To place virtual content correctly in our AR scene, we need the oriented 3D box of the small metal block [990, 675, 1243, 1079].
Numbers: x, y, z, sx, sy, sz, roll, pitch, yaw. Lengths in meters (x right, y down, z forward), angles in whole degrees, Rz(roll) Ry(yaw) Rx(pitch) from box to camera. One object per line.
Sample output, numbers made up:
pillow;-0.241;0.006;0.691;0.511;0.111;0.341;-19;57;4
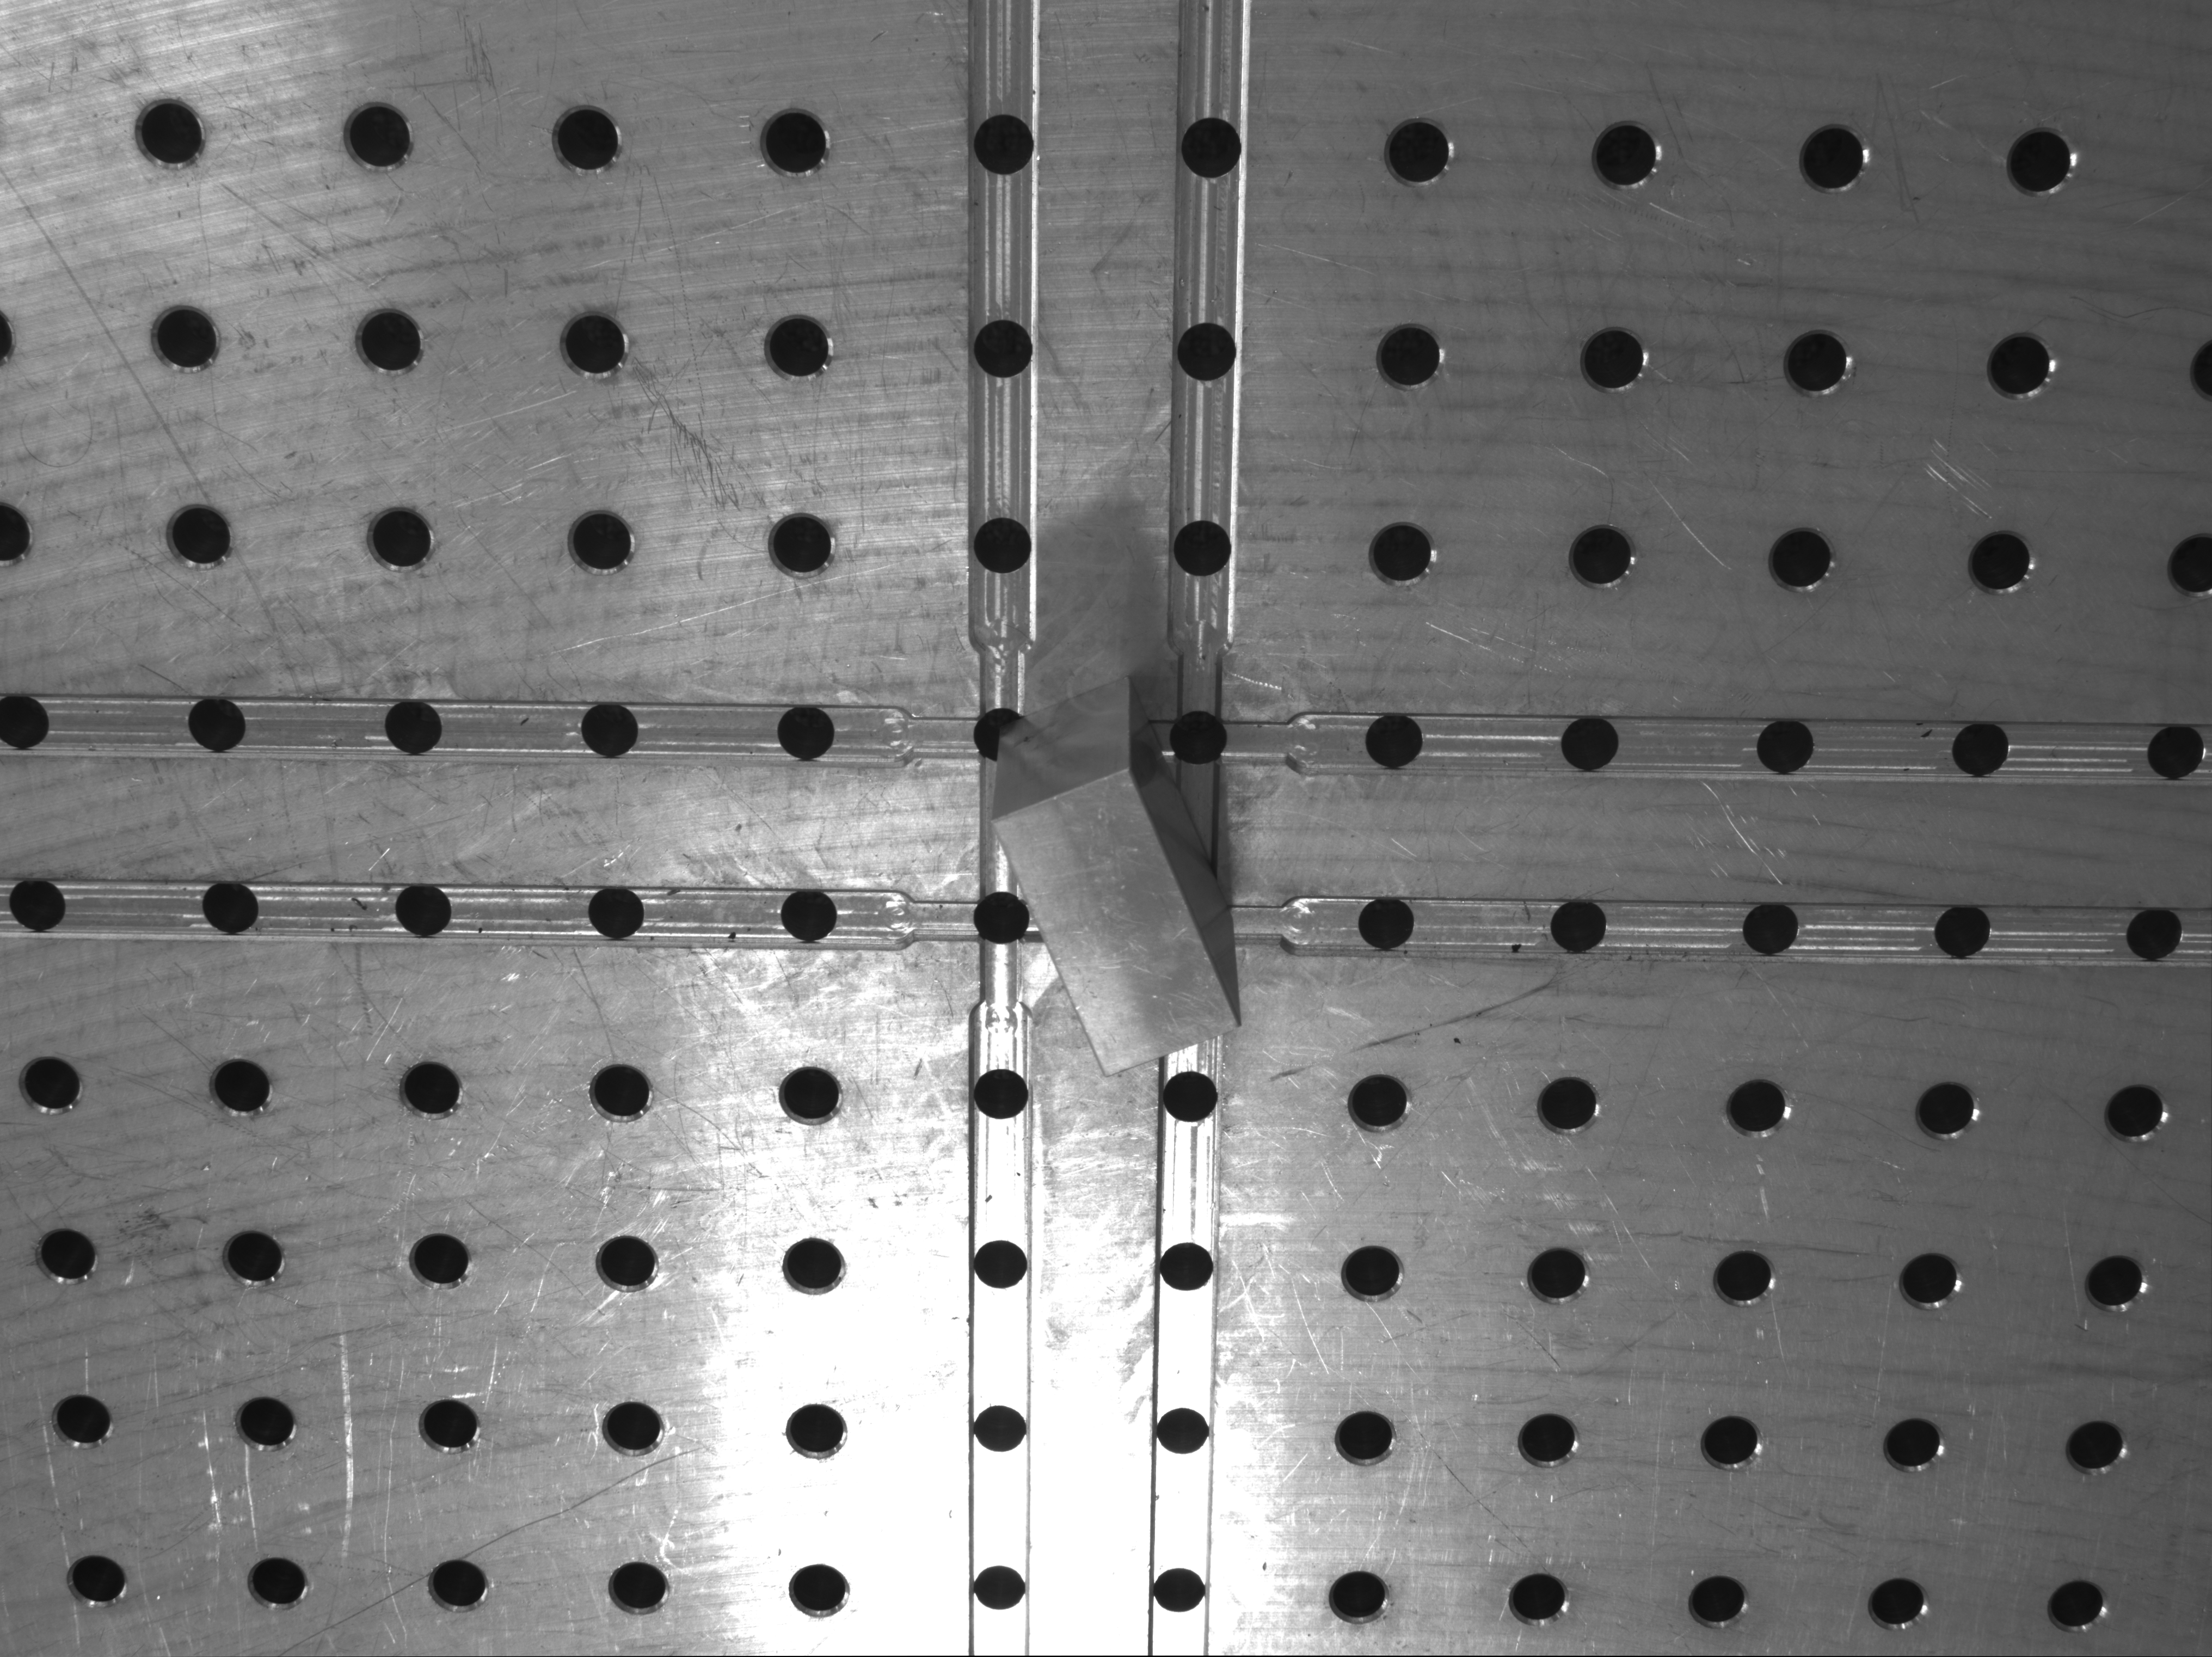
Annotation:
small metal block;0.002;0.008;0.636;0.025;0.050;0.050;-21;109;8
